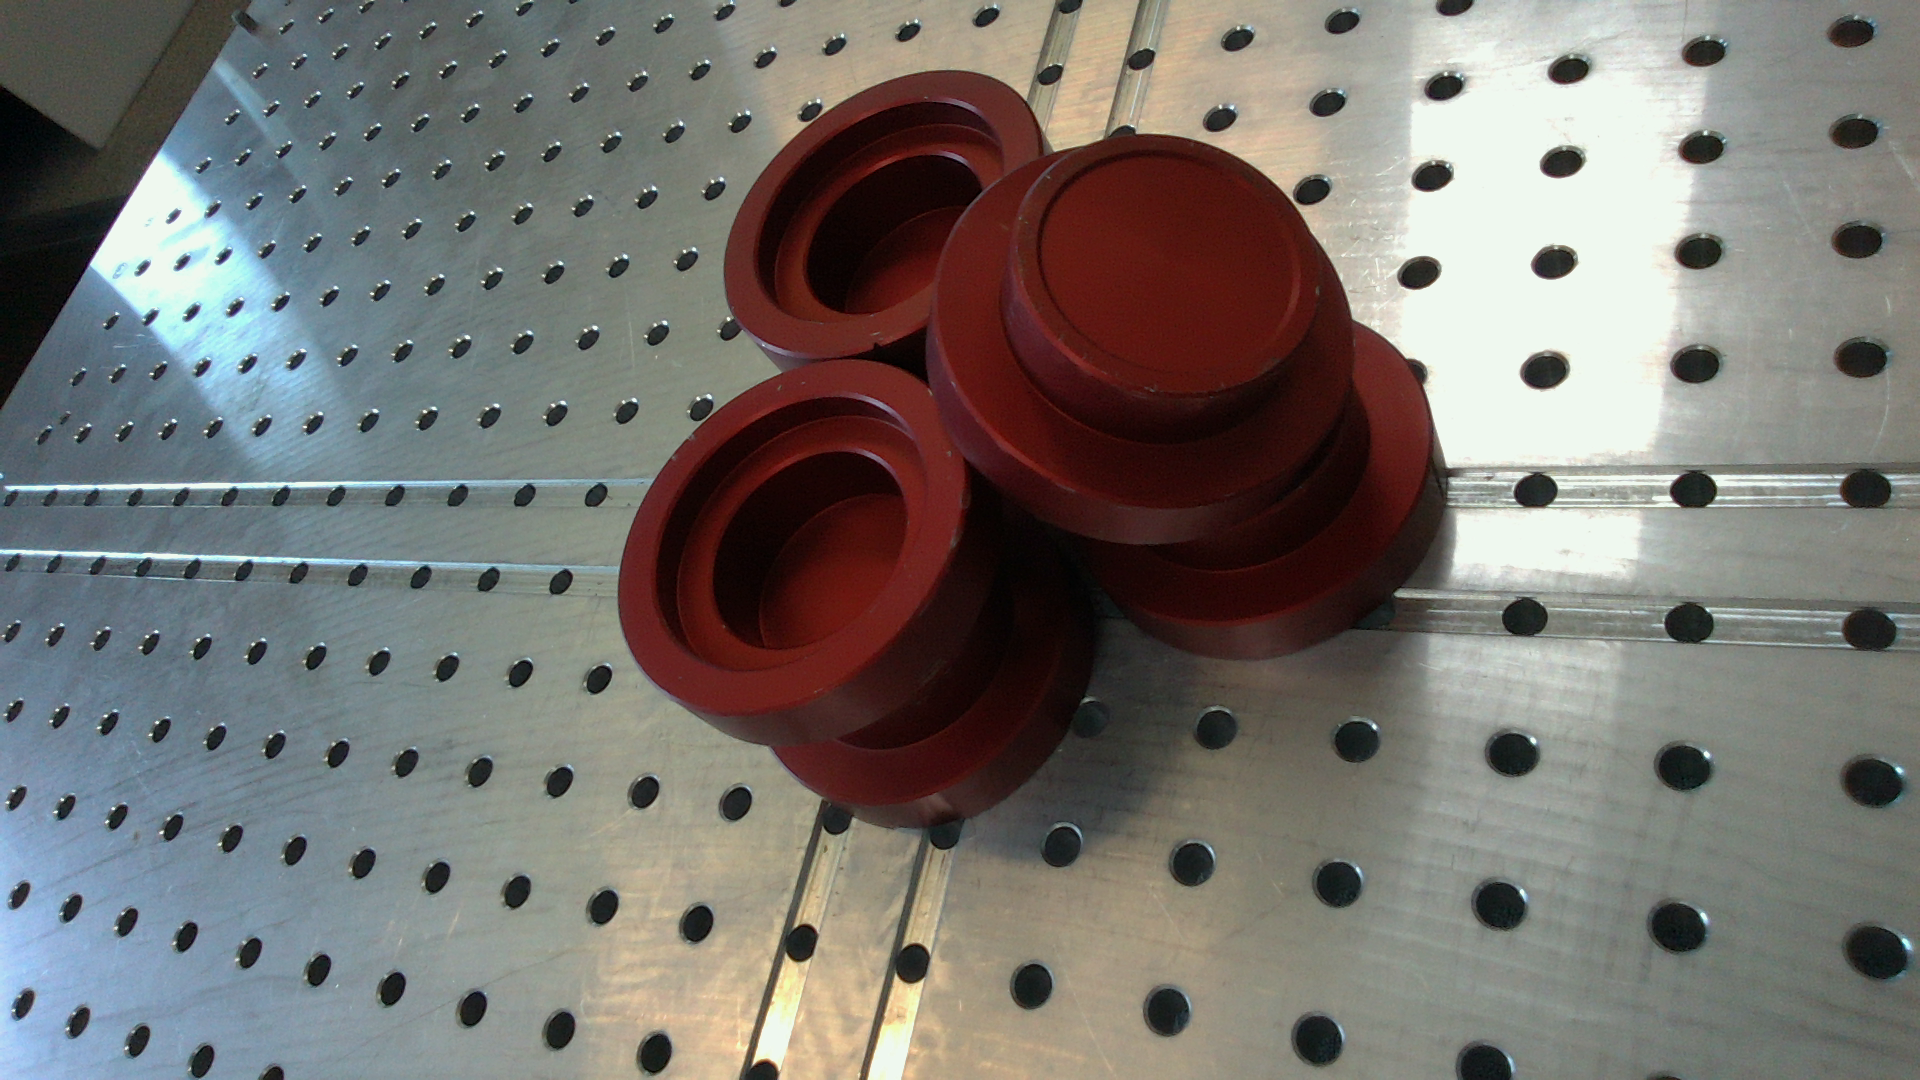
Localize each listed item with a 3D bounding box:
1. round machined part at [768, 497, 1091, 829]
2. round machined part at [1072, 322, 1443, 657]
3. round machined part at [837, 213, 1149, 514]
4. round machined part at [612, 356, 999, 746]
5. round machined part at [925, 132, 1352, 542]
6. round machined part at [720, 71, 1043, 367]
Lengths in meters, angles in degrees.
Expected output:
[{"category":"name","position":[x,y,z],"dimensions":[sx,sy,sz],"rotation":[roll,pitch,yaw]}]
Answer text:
[{"category":"round machined part","position":[-0.017,0.026,0.379],"dimensions":[0.098,0.042,0.098],"rotation":[-13,56,21]},{"category":"round machined part","position":[0.072,-0.022,0.361],"dimensions":[0.098,0.042,0.098],"rotation":[-13,56,21]},{"category":"round machined part","position":[0.005,-0.060,0.422],"dimensions":[0.098,0.042,0.098],"rotation":[-13,56,21]},{"category":"round machined part","position":[-0.035,0.006,0.346],"dimensions":[0.098,0.042,0.098],"rotation":[-13,56,21]},{"category":"round machined part","position":[0.042,-0.052,0.313],"dimensions":[0.098,0.042,0.098],"rotation":[3,65,-6]},{"category":"round machined part","position":[-0.015,-0.081,0.389],"dimensions":[0.098,0.042,0.098],"rotation":[-13,56,21]}]
